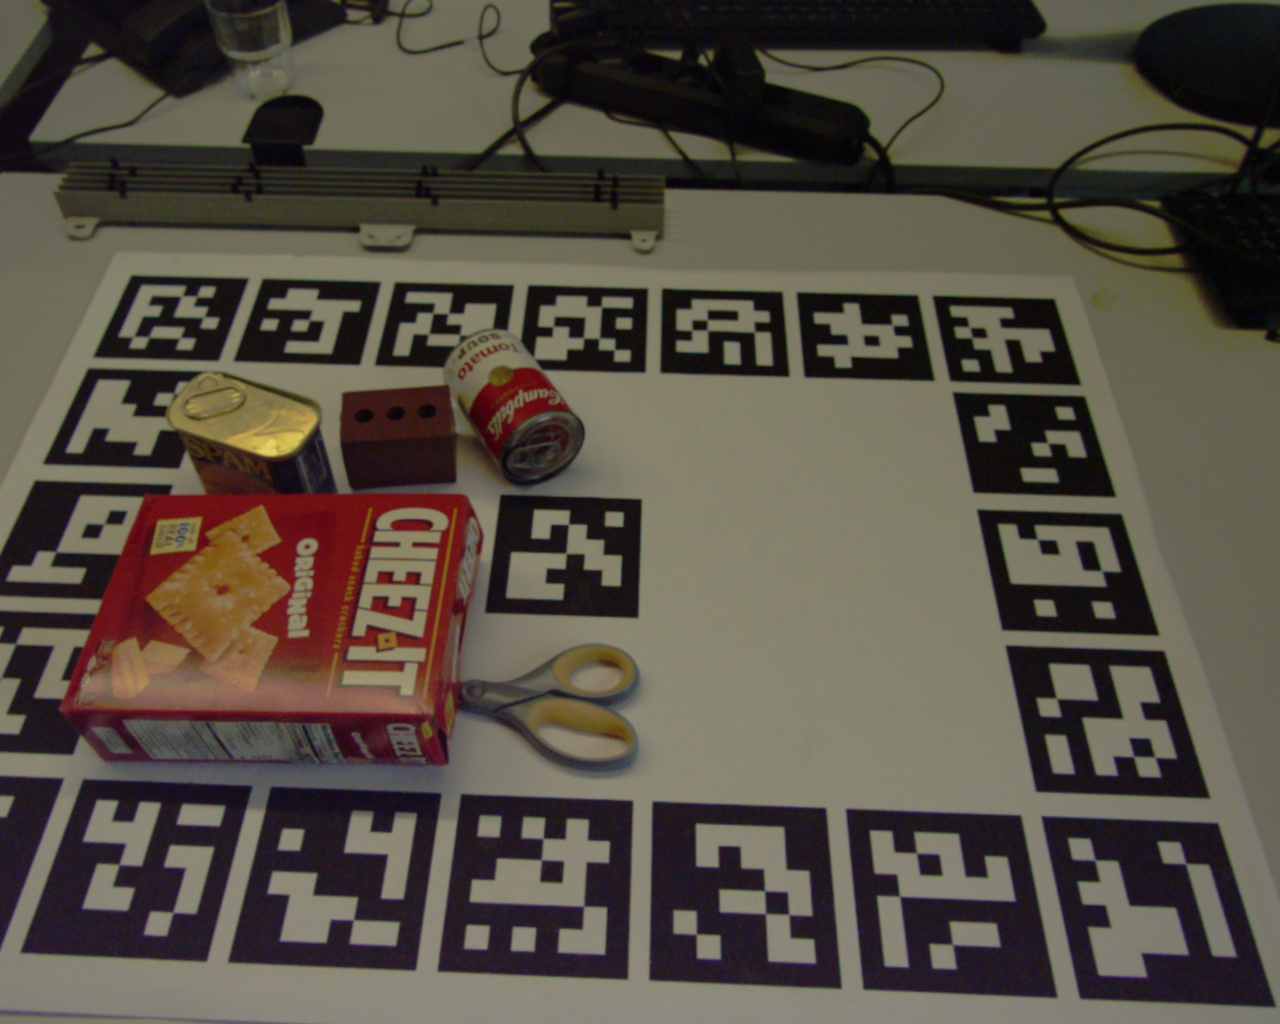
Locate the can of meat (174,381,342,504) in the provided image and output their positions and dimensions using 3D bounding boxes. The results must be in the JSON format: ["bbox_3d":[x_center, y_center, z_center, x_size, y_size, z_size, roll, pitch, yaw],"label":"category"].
[{"bbox_3d":[-0.271,-0.040,0.822,0.102,0.083,0.058,13,55,9],"label":"can of meat"}]

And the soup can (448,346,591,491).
[{"bbox_3d":[-0.093,-0.073,0.868,0.067,0.067,0.103,-30,54,-21],"label":"soup can"}]

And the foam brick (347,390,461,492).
[{"bbox_3d":[-0.176,-0.052,0.854,0.078,0.051,0.053,-7,54,-6],"label":"foam brick"}]

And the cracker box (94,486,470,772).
[{"bbox_3d":[-0.221,0.070,0.731,0.214,0.071,0.165,-5,53,1],"label":"cracker box"}]

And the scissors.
[{"bbox_3d":[-0.107,0.120,0.732,0.202,0.016,0.088,-3,54,-2],"label":"scissors"}]
